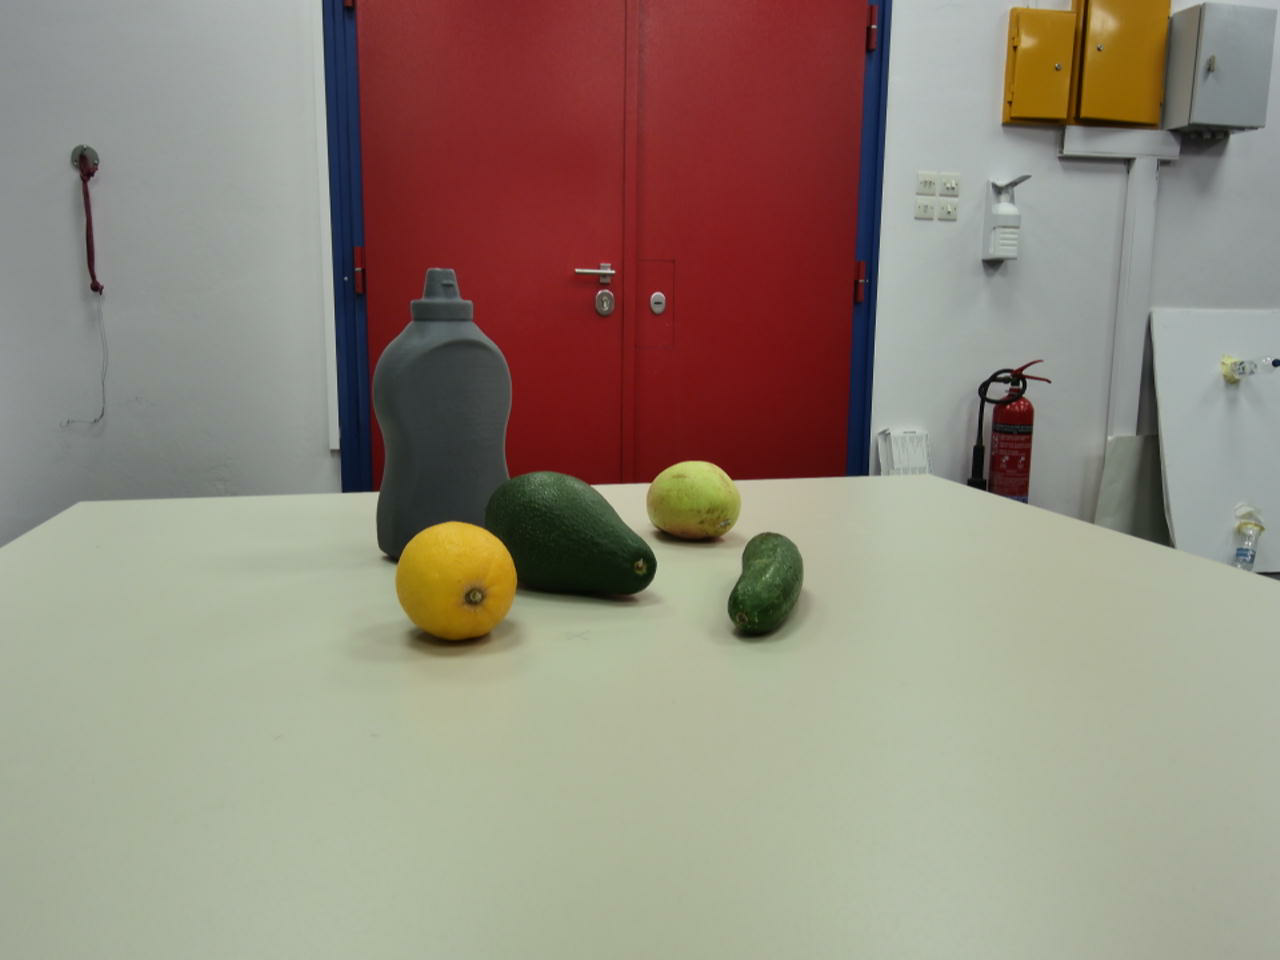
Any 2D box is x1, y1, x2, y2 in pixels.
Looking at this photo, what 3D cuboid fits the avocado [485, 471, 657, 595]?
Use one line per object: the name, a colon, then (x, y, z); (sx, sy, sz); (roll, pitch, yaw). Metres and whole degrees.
avocado: (-0.045, 0.031, 0.592); (0.072, 0.071, 0.110); (-4, 9, -35)
